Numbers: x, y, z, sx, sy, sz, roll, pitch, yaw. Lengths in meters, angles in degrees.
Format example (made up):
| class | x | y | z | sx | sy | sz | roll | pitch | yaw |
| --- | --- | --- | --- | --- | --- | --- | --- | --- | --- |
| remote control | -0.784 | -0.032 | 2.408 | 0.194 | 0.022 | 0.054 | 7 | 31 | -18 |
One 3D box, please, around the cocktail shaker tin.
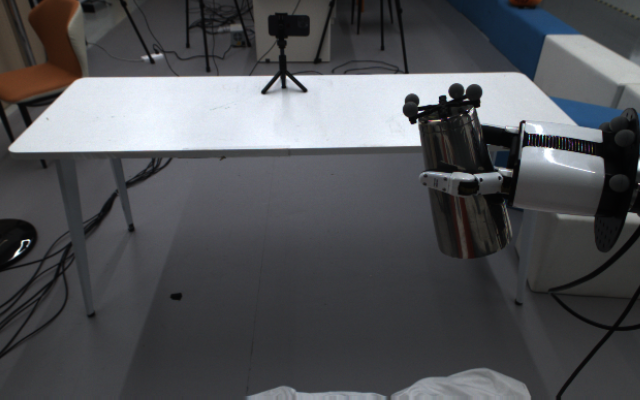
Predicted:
| class | x | y | z | sx | sy | sz | roll | pitch | yaw |
| --- | --- | --- | --- | --- | --- | --- | --- | --- | --- |
| cocktail shaker tin | 0.172 | -0.026 | 0.586 | 0.093 | 0.170 | 0.093 | -17 | 20 | 7 |
